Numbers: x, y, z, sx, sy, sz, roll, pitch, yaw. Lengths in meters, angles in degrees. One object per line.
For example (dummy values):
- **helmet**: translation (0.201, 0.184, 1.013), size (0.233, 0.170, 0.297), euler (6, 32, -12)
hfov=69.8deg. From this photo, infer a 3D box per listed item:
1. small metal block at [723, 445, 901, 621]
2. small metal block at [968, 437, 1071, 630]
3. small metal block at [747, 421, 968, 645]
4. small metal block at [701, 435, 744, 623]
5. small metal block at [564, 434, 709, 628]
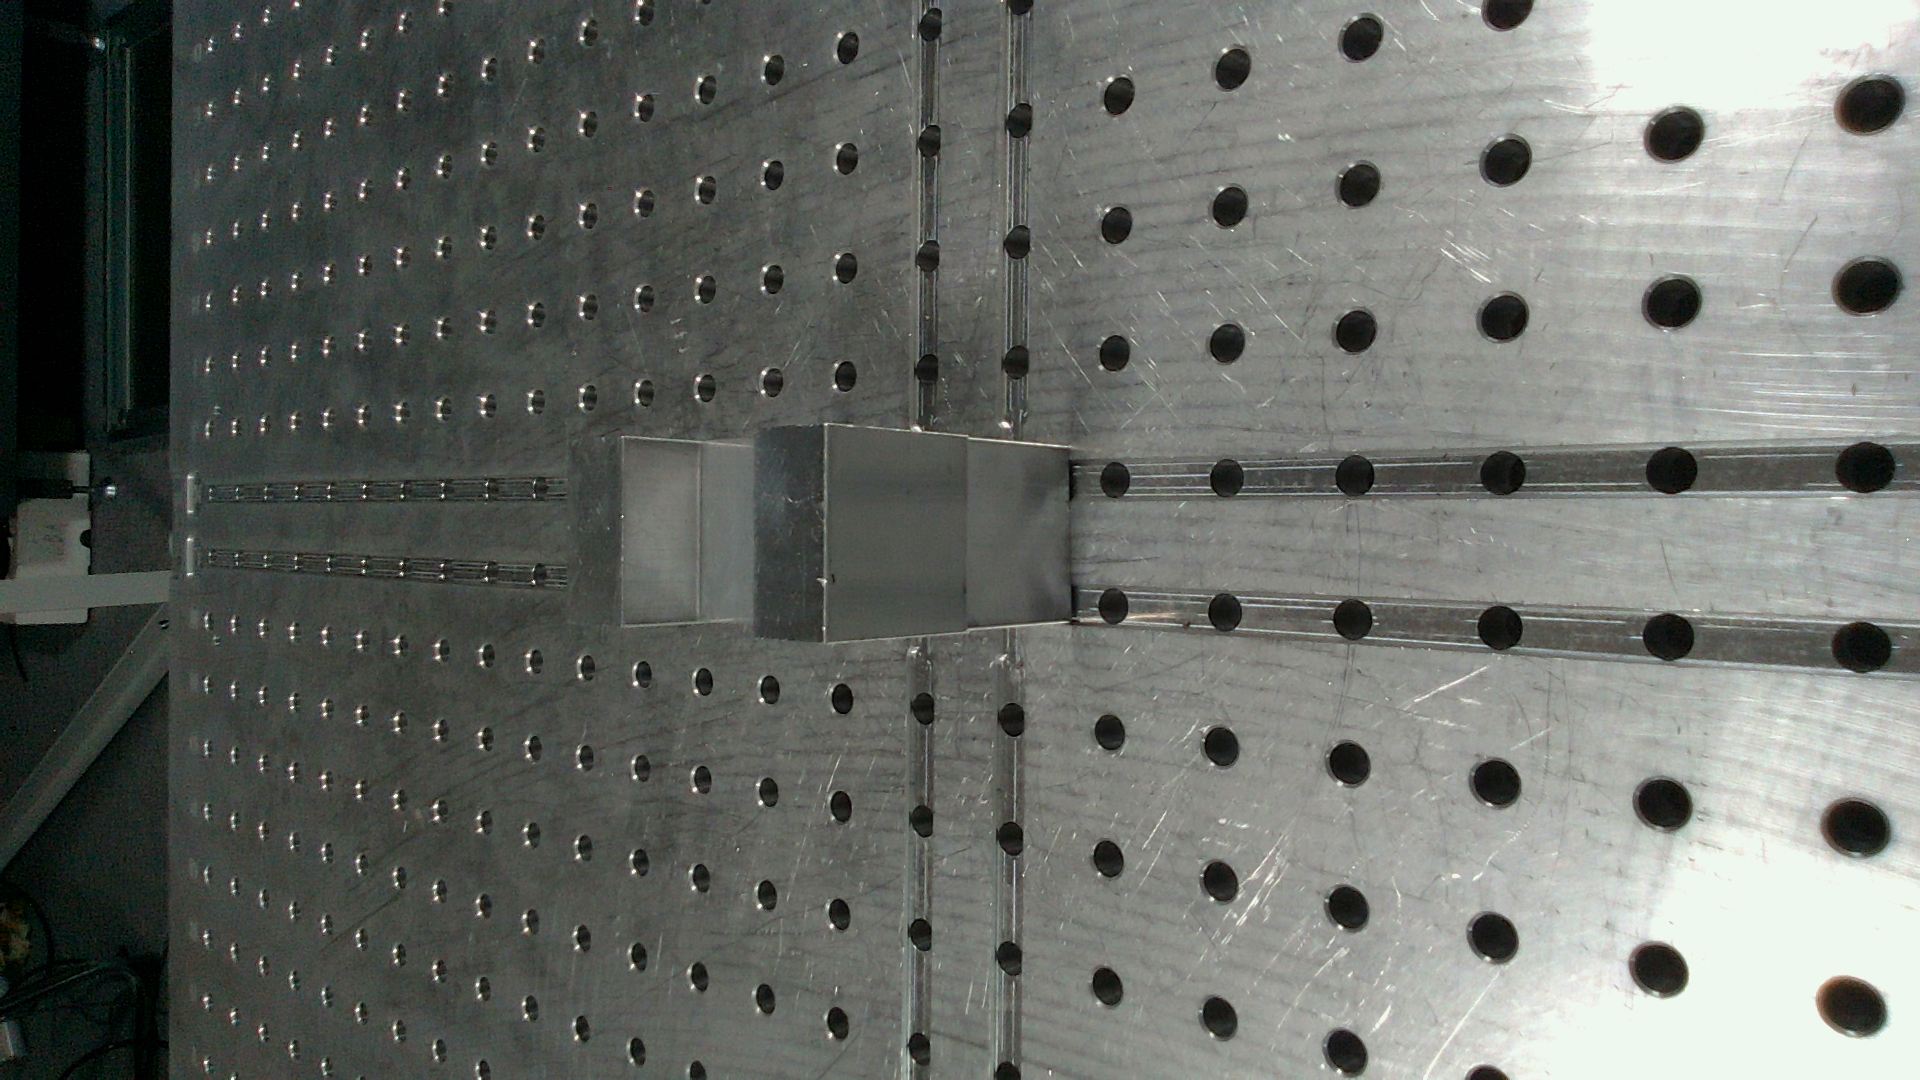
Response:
- **small metal block**: translation (-0.044, -0.002, 0.418), size (0.025, 0.050, 0.050), euler (1, 91, 40)
- **small metal block**: translation (0.005, -0.002, 0.377), size (0.025, 0.050, 0.050), euler (-1, 89, 40)
- **small metal block**: translation (-0.024, -0.002, 0.334), size (0.025, 0.050, 0.050), euler (1, 90, 41)
- **small metal block**: translation (-0.043, -0.003, 0.370), size (0.050, 0.025, 0.050), euler (1, 91, 40)
- **small metal block**: translation (-0.081, -0.002, 0.383), size (0.025, 0.050, 0.050), euler (1, 90, 41)
